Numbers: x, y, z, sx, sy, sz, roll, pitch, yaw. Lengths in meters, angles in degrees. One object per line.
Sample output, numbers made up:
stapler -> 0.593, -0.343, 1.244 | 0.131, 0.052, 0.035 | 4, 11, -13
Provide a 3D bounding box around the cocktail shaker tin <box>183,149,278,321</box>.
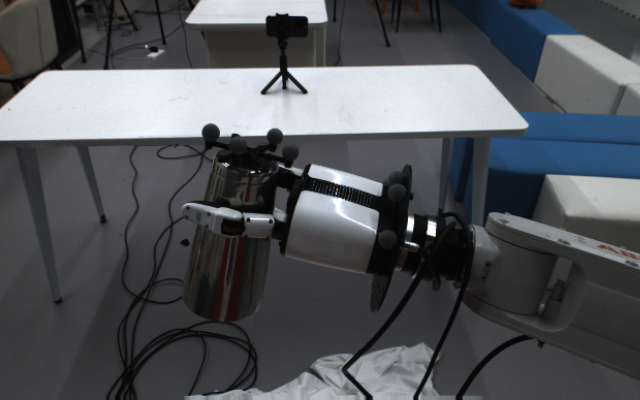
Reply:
cocktail shaker tin -> -0.088, 0.032, 0.523 | 0.093, 0.170, 0.093 | 12, 25, -6
